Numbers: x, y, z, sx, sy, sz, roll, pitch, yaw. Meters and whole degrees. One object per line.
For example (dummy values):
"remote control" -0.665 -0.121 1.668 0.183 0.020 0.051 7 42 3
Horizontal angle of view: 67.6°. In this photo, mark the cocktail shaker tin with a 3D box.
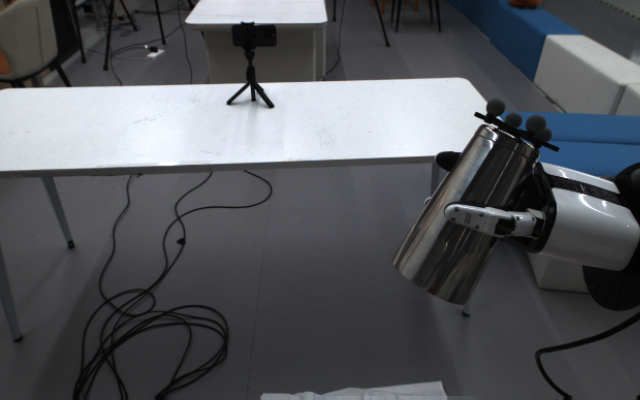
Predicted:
"cocktail shaker tin" 0.158 0.010 0.508 0.093 0.170 0.093 24 12 -6
